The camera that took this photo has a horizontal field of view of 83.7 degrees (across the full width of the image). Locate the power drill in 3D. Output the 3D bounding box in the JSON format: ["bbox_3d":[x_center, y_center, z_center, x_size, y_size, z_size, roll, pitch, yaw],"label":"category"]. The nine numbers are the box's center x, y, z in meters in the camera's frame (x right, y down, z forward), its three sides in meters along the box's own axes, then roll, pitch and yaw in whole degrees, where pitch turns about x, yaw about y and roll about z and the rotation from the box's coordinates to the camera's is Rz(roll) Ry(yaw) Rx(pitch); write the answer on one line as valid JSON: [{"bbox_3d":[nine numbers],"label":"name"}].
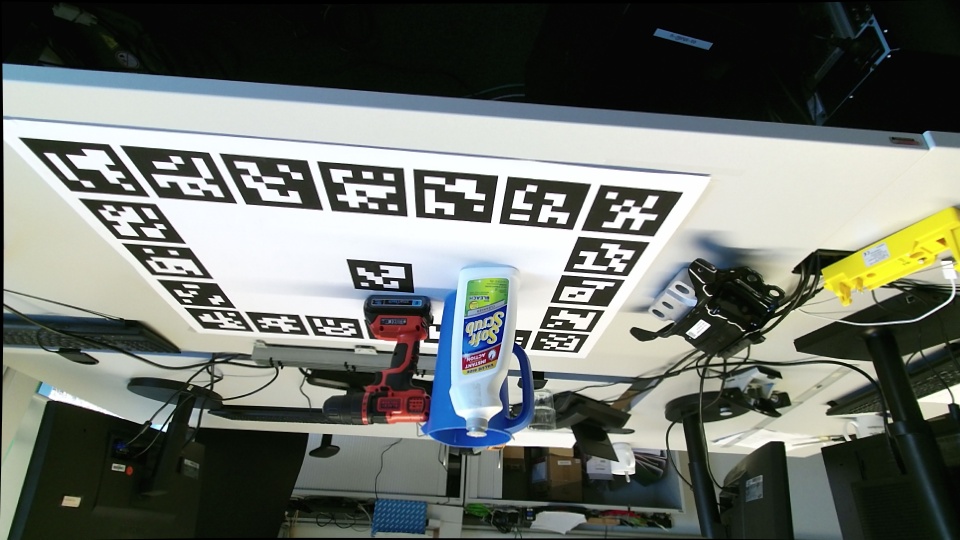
[{"bbox_3d":[-0.175,0.173,0.906,0.185,0.186,0.057,5,145,6],"label":"power drill"}]

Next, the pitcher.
[{"bbox_3d":[-0.006,0.181,0.892,0.189,0.241,0.133,-12,144,20],"label":"pitcher"}]

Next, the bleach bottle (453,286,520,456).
[{"bbox_3d":[0.011,0.145,0.795,0.103,0.249,0.068,-1,147,4],"label":"bleach bottle"}]
